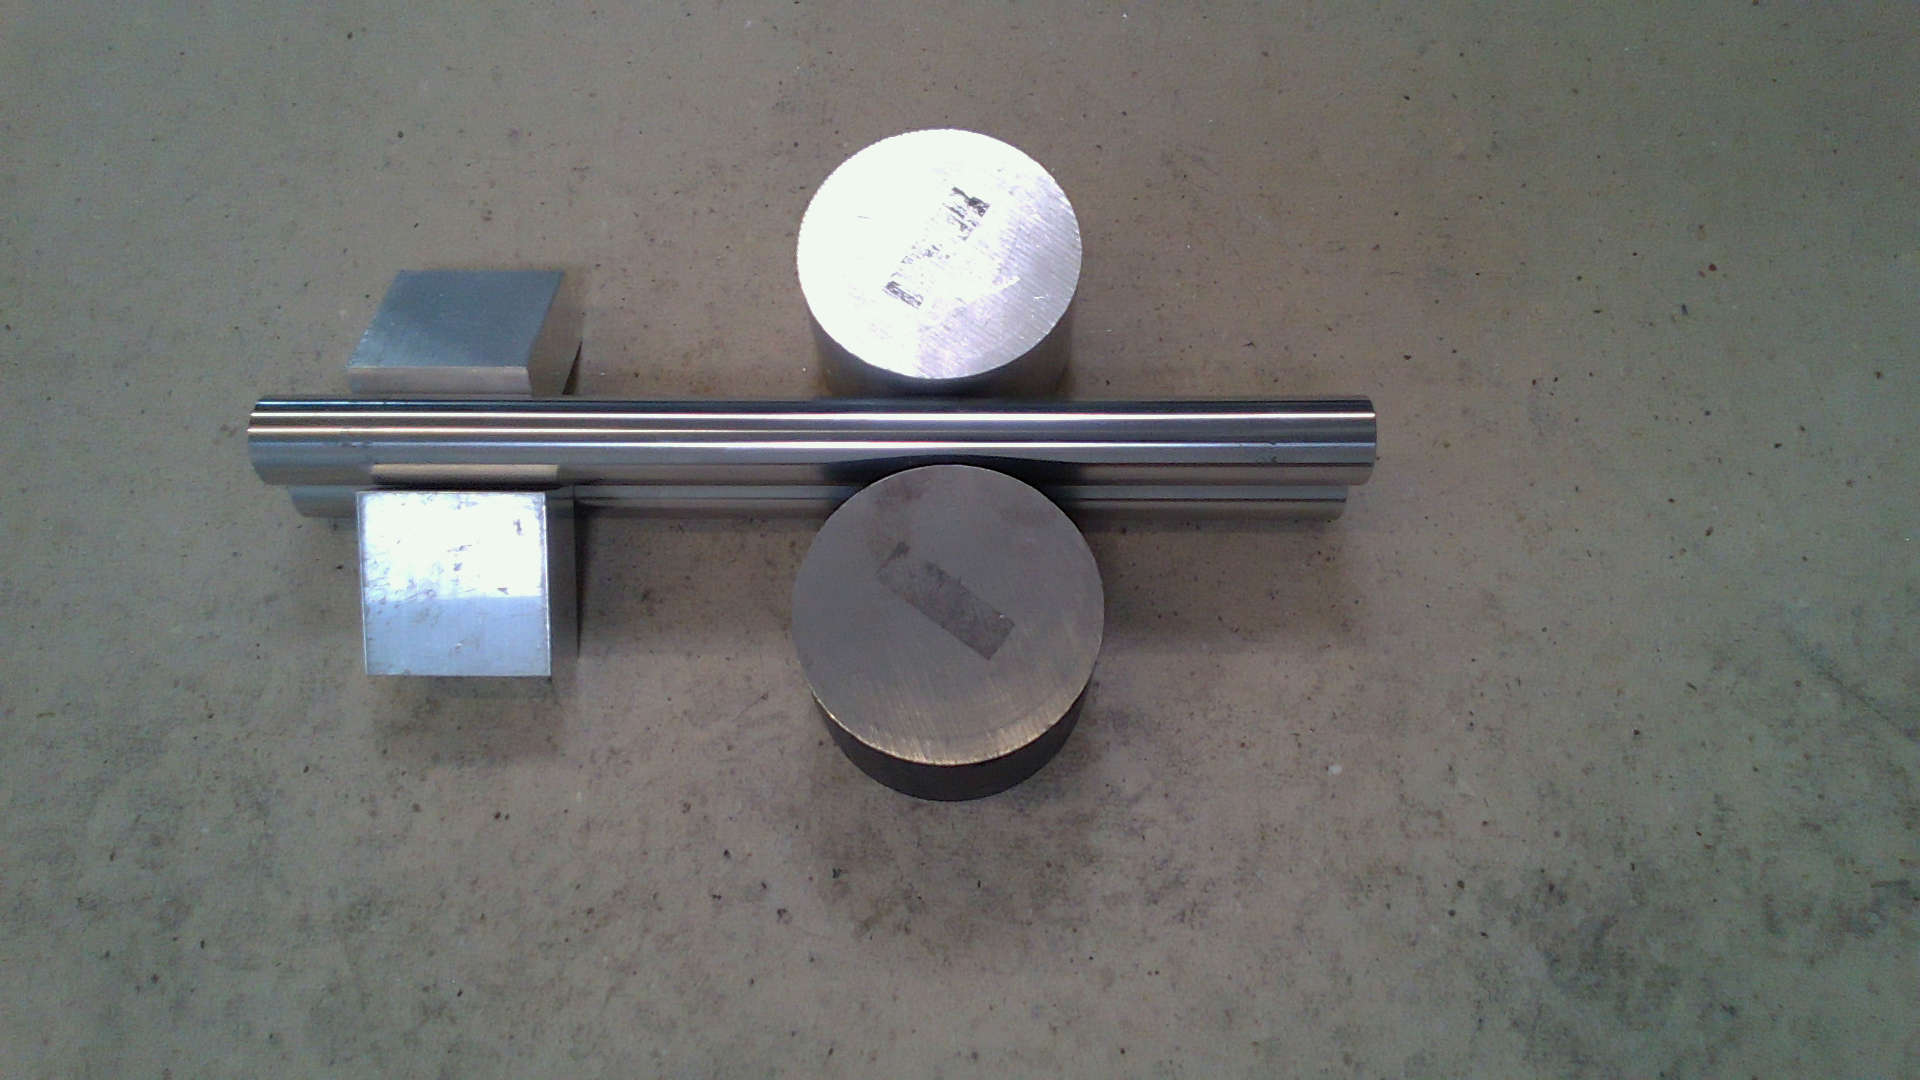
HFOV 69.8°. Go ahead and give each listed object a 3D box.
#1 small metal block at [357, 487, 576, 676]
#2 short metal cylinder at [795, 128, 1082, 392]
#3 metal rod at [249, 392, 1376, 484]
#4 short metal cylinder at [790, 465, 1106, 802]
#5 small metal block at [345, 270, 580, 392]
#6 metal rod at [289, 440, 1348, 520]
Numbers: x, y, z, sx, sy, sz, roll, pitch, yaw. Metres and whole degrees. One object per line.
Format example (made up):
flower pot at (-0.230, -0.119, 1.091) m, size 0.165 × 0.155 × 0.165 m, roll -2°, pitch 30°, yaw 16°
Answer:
small metal block at (-0.135, 0.010, 0.380) m, size 0.050 × 0.025 × 0.050 m, roll 1°, pitch 97°, yaw 0°
short metal cylinder at (-0.006, -0.073, 0.408) m, size 0.080 × 0.050 × 0.080 m, roll 0°, pitch 70°, yaw 0°
metal rod at (-0.039, -0.028, 0.378) m, size 0.300 × 0.025 × 0.025 m, roll 0°, pitch 70°, yaw 0°
short metal cylinder at (-0.003, 0.026, 0.372) m, size 0.080 × 0.050 × 0.080 m, roll 0°, pitch 70°, yaw 0°
small metal block at (-0.143, -0.055, 0.404) m, size 0.050 × 0.025 × 0.050 m, roll 0°, pitch 43°, yaw 0°
metal rod at (-0.040, -0.019, 0.401) m, size 0.300 × 0.025 × 0.025 m, roll 0°, pitch 70°, yaw 0°
